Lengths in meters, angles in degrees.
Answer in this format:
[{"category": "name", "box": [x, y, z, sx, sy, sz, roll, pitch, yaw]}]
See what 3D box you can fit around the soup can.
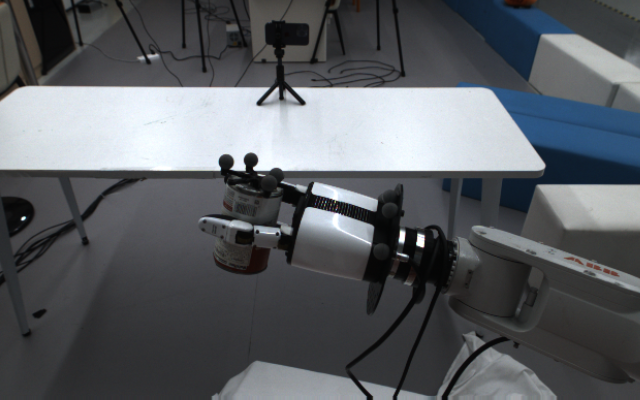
[{"category": "soup can", "box": [-0.084, 0.029, 0.572, 0.067, 0.101, 0.067, 13, 18, -4]}]
